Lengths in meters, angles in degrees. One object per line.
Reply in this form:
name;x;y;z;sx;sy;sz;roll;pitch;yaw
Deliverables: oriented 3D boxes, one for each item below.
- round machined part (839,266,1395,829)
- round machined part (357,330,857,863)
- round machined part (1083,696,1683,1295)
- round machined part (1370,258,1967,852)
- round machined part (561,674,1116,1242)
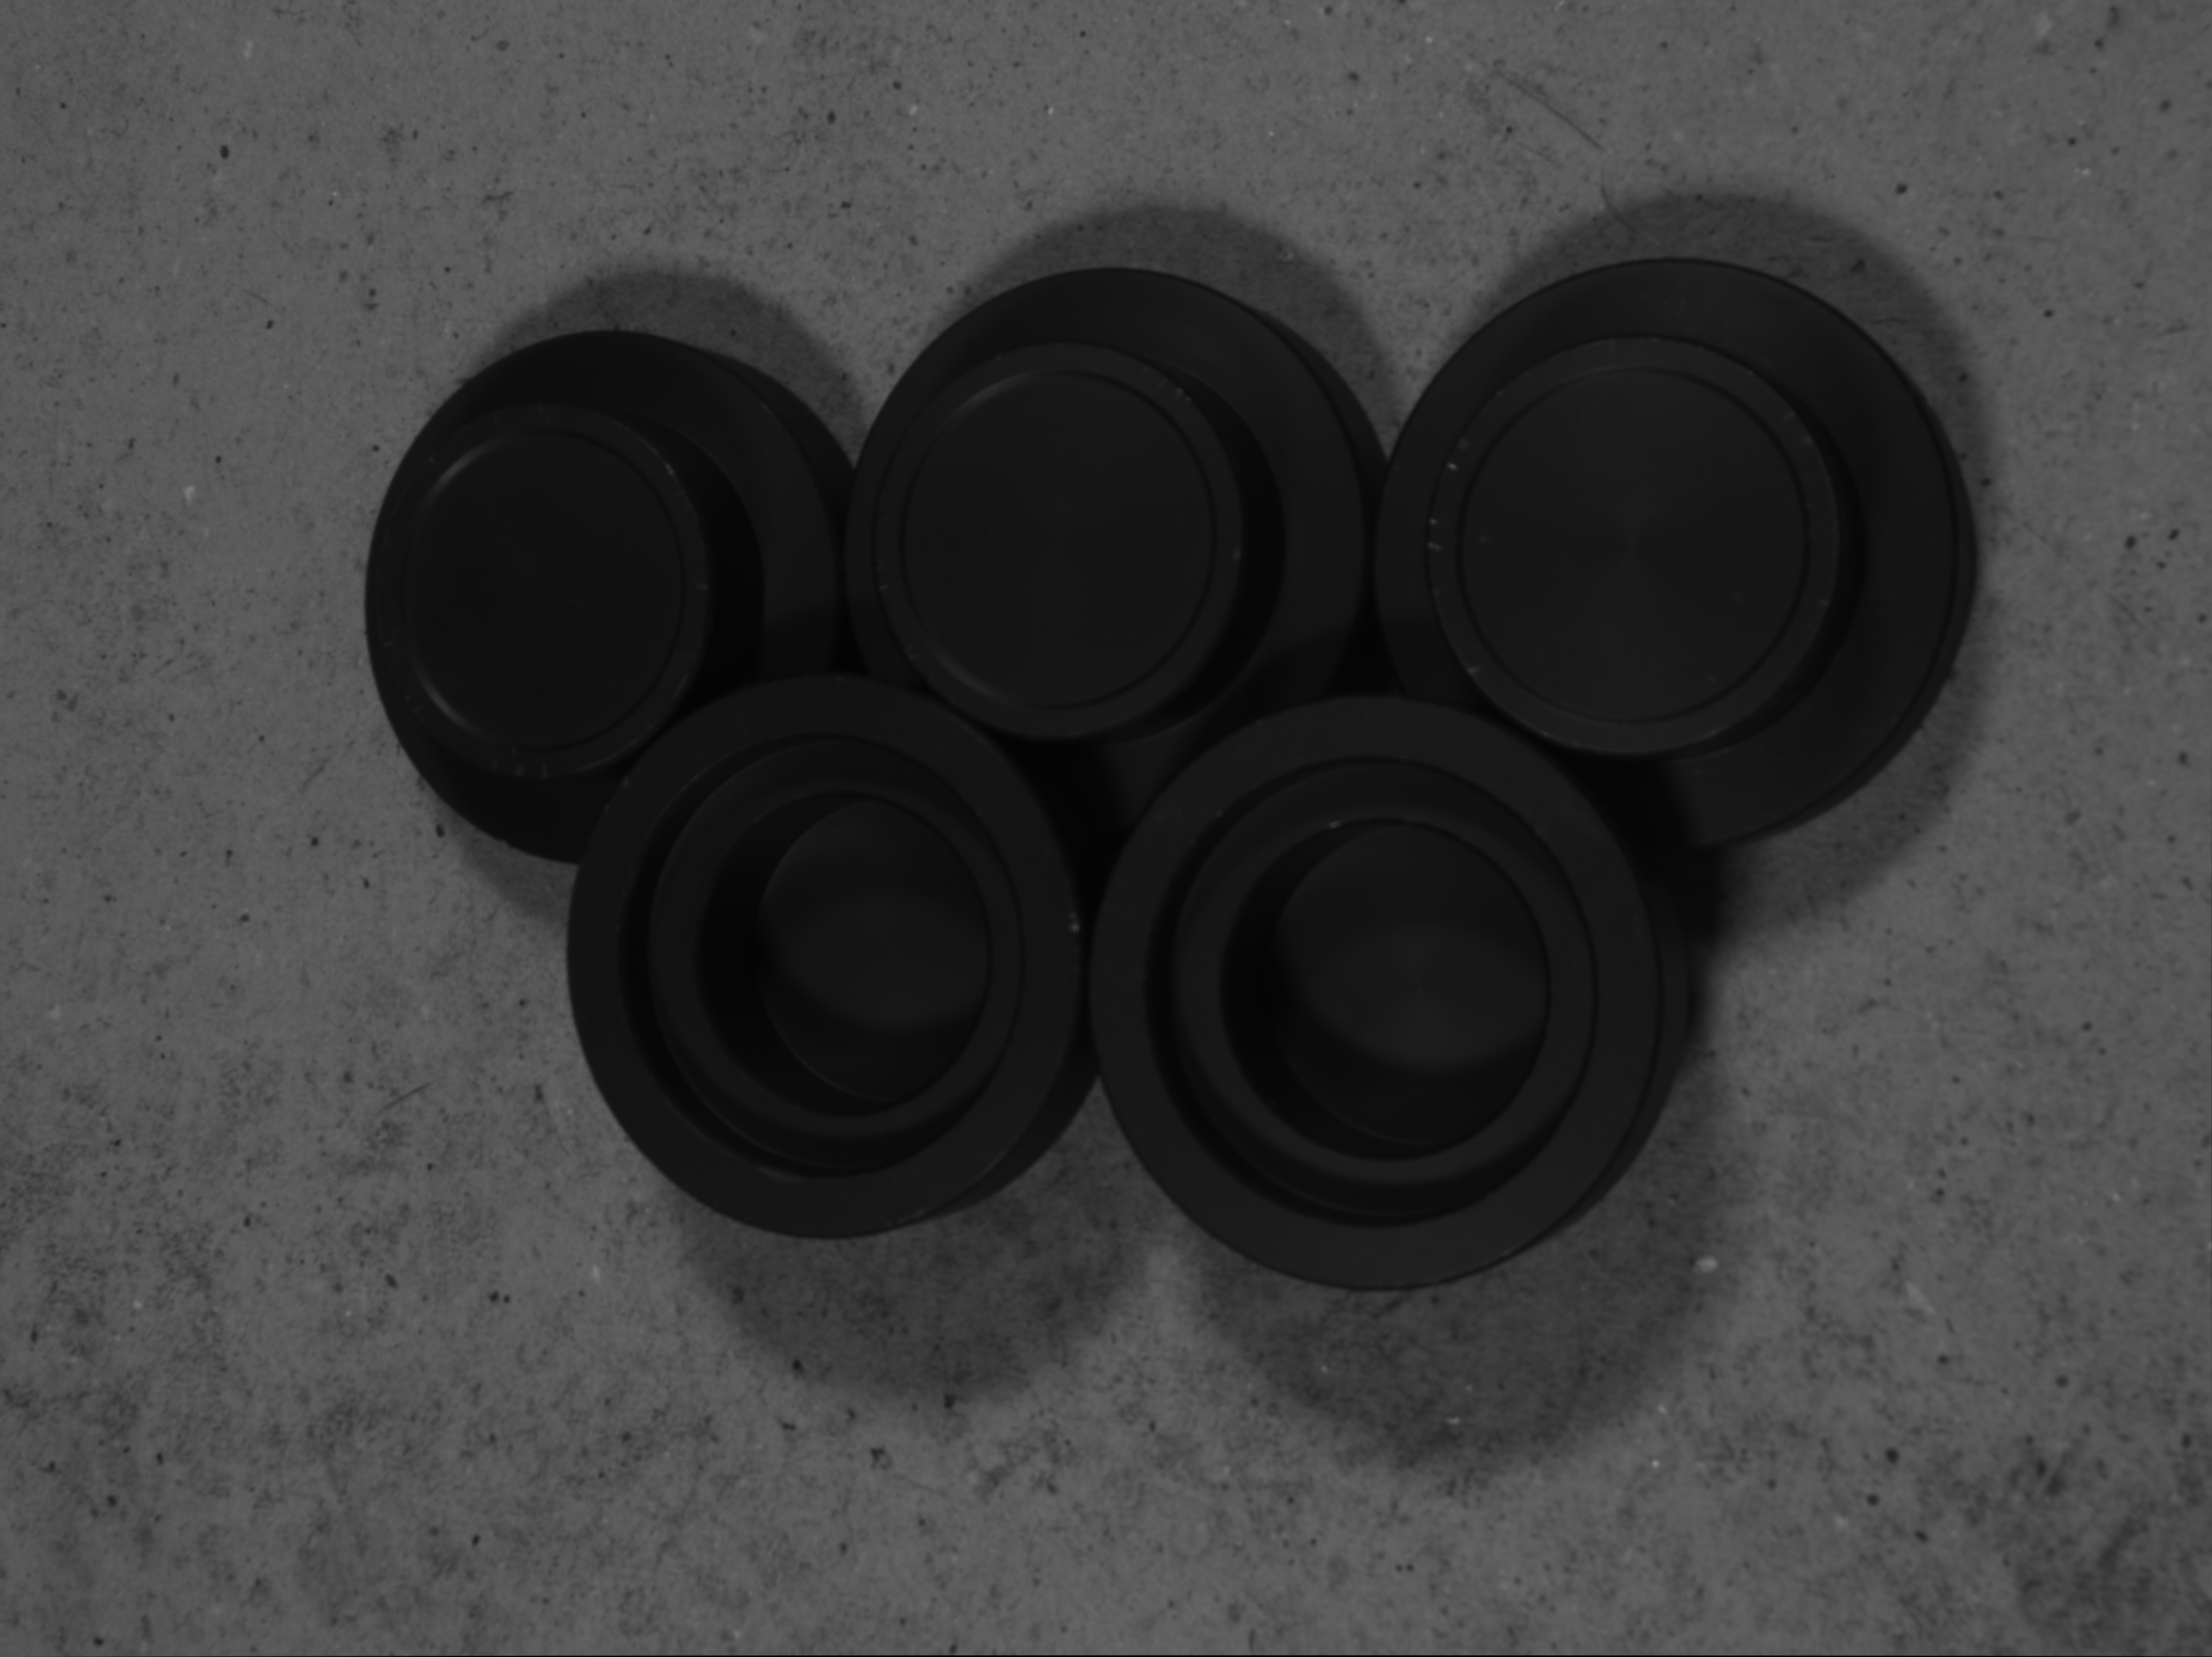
round machined part;-0.002;-0.049;0.636;0.098;0.042;0.098;0;90;20
round machined part;-0.095;-0.042;0.669;0.098;0.042;0.098;0;90;20
round machined part;0.049;0.027;0.618;0.098;0.042;0.098;0;90;20
round machined part;0.090;-0.045;0.603;0.098;0.042;0.098;0;90;20
round machined part;-0.044;0.022;0.651;0.098;0.042;0.098;0;90;20
